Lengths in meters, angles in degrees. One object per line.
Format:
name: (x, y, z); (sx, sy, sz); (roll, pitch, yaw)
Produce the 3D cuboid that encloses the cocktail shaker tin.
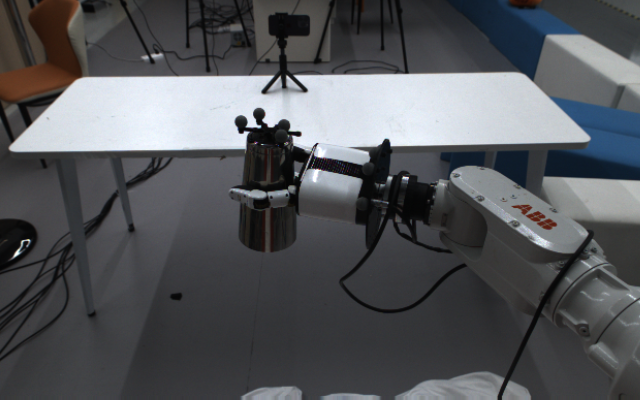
cocktail shaker tin: (-0.077, -0.018, 0.723); (0.093, 0.170, 0.093); (3, 32, -2)
